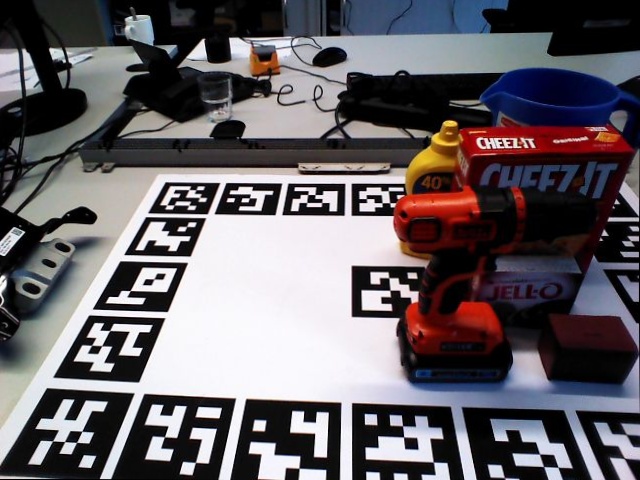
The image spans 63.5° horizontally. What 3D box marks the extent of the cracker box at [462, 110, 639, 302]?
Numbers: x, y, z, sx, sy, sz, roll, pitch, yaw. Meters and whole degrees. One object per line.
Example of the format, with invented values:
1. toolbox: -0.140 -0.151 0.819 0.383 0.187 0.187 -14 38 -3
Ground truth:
1. cracker box: 0.247 -0.029 0.589 0.165 0.214 0.071 -3 36 6

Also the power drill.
1. power drill: 0.169 0.027 0.501 0.185 0.187 0.057 -1 35 4

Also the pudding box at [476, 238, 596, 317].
1. pudding box: 0.239 0.043 0.586 0.114 0.090 0.038 -2 37 8

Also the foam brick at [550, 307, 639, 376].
1. foam brick: 0.294 0.108 0.550 0.078 0.051 0.052 1 40 7

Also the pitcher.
1. pitcher: 0.301 -0.096 0.661 0.189 0.243 0.132 2 39 12

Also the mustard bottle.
1. mustard bottle: 0.169 -0.087 0.681 0.096 0.192 0.058 8 41 16
